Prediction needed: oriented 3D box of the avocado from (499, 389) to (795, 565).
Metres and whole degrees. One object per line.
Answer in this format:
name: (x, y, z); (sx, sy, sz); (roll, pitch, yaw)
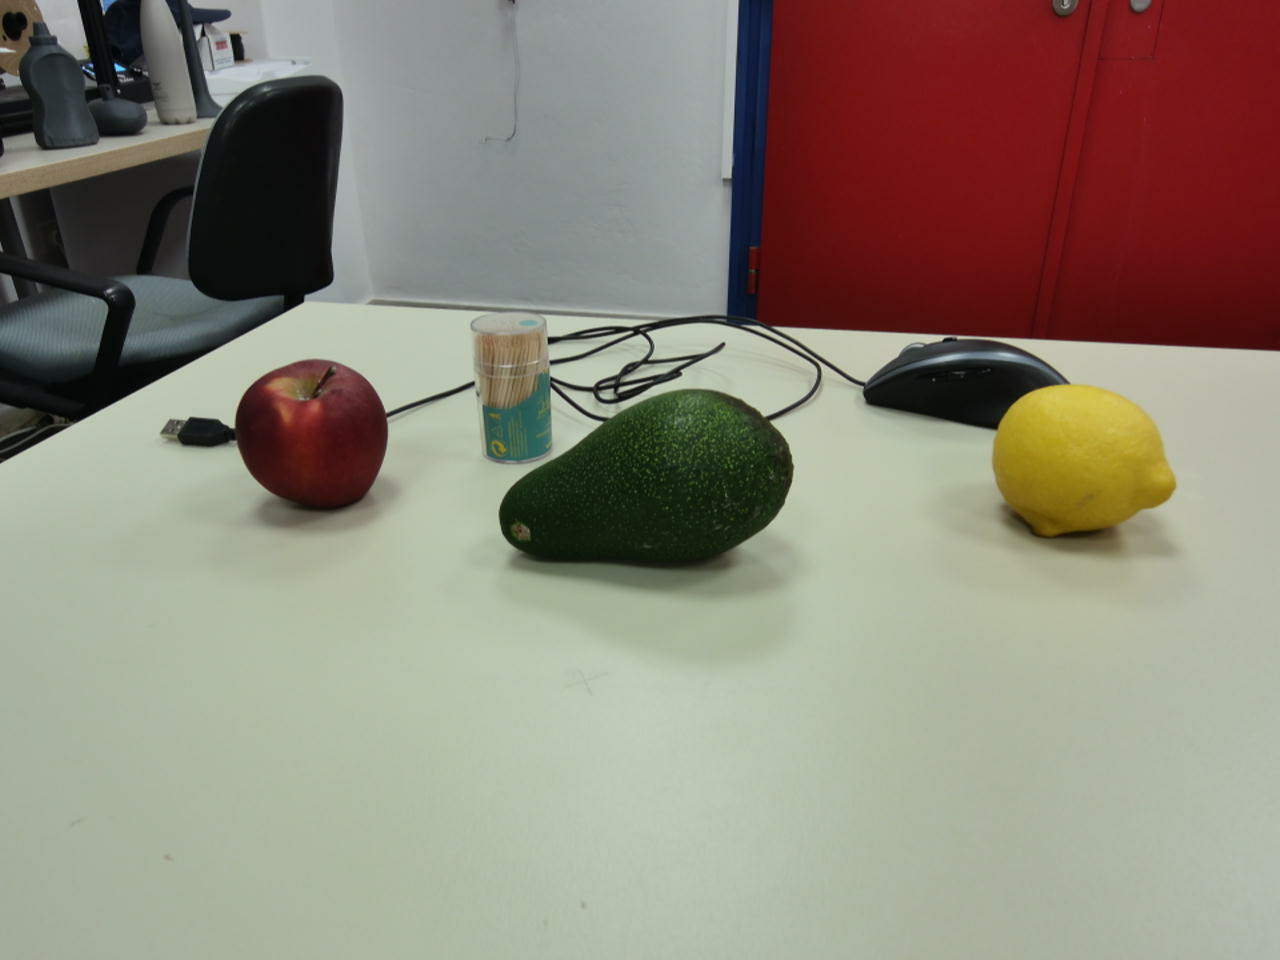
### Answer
avocado: (0.004, -0.003, 0.435); (0.123, 0.076, 0.074); (8, 25, 18)
